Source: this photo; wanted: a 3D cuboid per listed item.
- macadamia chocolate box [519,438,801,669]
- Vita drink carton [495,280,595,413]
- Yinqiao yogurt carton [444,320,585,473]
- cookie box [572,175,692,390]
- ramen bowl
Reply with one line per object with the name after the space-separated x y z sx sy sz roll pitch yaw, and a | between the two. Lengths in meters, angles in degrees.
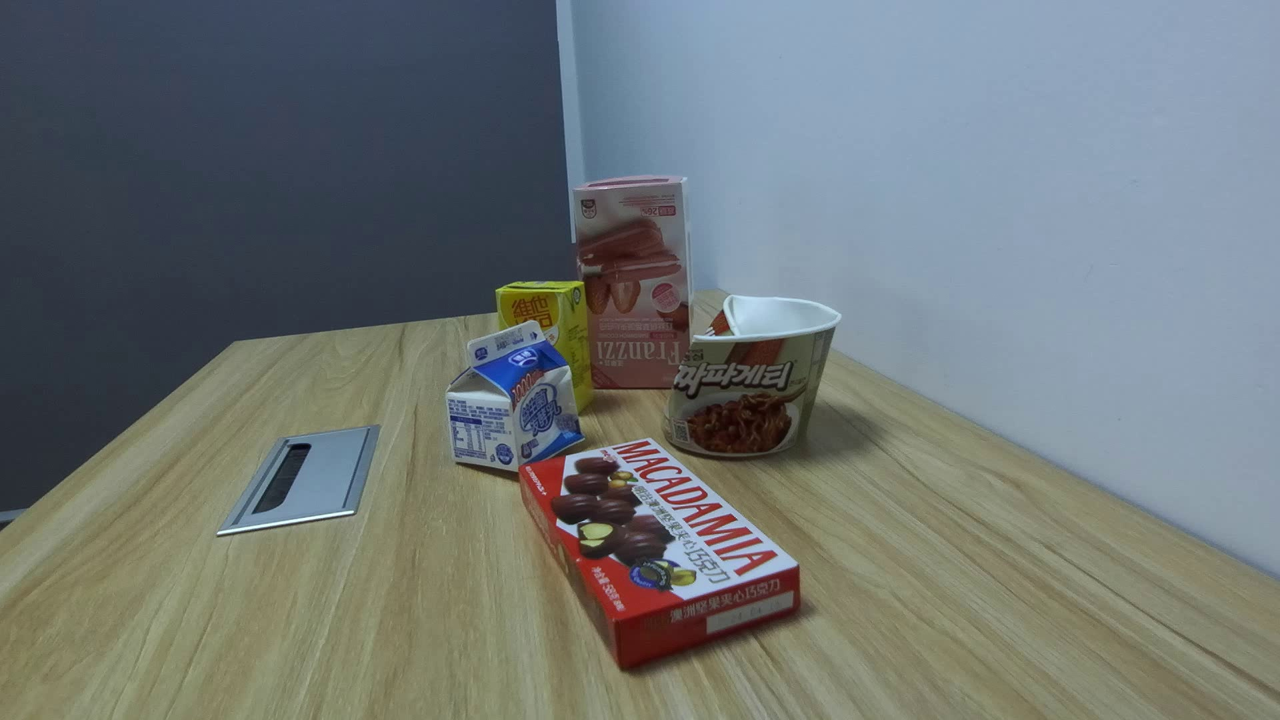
0.000 0.093 0.392 0.096 0.027 0.177 -10 18 -20 | macadamia chocolate box
-0.080 -0.011 0.605 0.066 0.109 0.043 2 17 20 | Vita drink carton
-0.093 0.025 0.519 0.070 0.094 0.078 3 17 38 | Yinqiao yogurt carton
-0.005 -0.068 0.640 0.105 0.187 0.049 -1 18 12 | cookie box
0.076 0.011 0.523 0.137 0.098 0.137 -4 20 2 | ramen bowl
